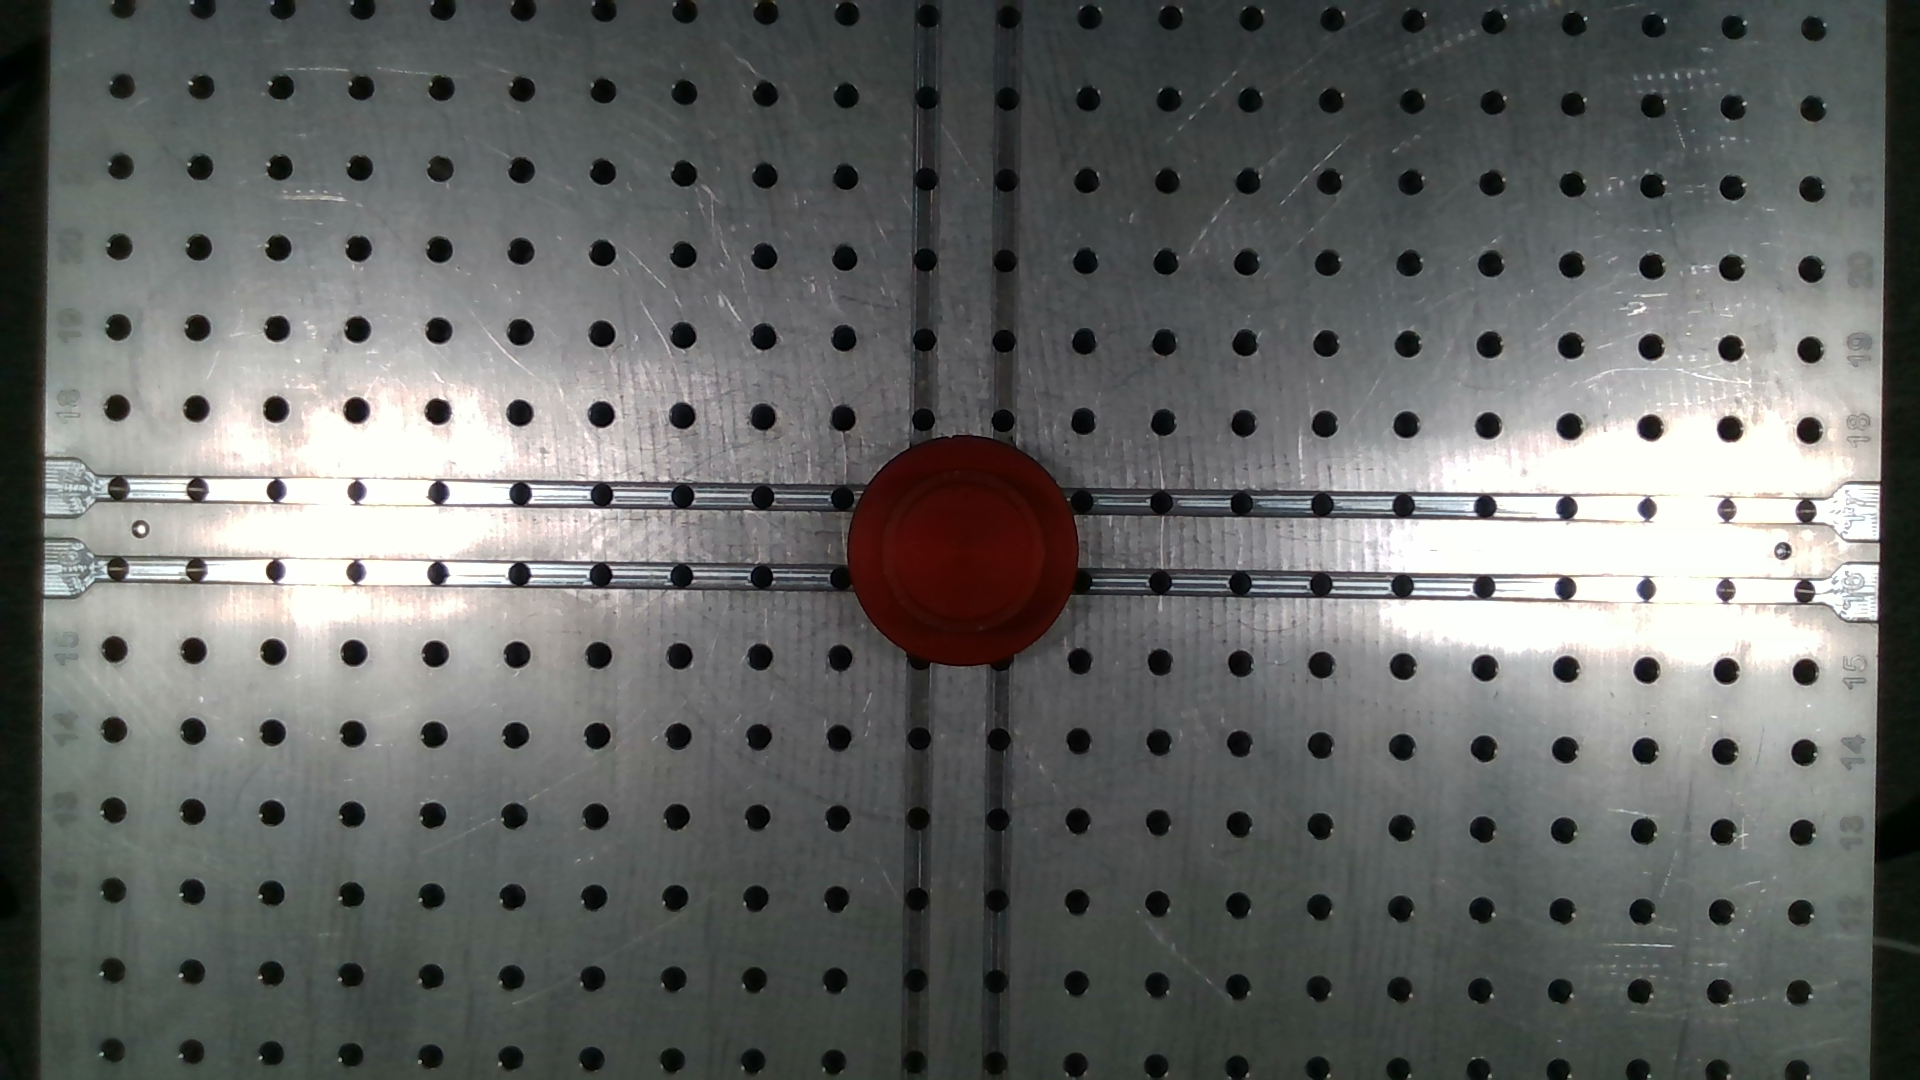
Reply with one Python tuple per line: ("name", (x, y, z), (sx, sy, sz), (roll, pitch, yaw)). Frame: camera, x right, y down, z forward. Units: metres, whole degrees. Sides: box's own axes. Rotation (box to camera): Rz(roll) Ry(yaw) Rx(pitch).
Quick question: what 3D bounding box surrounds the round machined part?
("round machined part", (0.001, 0.004, 0.580), (0.098, 0.042, 0.098), (0, 90, 0))
